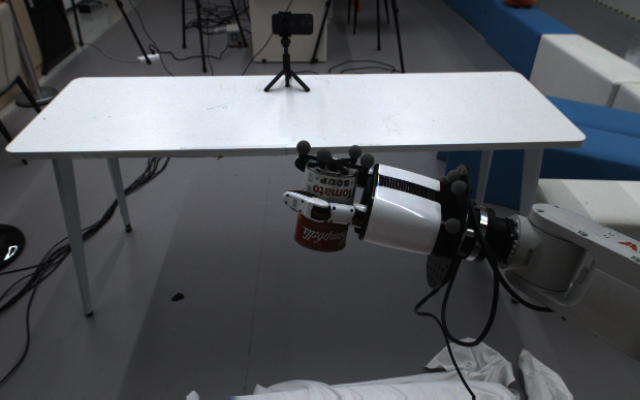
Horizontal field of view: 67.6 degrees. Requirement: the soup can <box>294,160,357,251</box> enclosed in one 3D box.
[{"bbox_3d":[0.009,0.006,0.609,0.067,0.101,0.067,8,19,-3],"label":"soup can"}]
